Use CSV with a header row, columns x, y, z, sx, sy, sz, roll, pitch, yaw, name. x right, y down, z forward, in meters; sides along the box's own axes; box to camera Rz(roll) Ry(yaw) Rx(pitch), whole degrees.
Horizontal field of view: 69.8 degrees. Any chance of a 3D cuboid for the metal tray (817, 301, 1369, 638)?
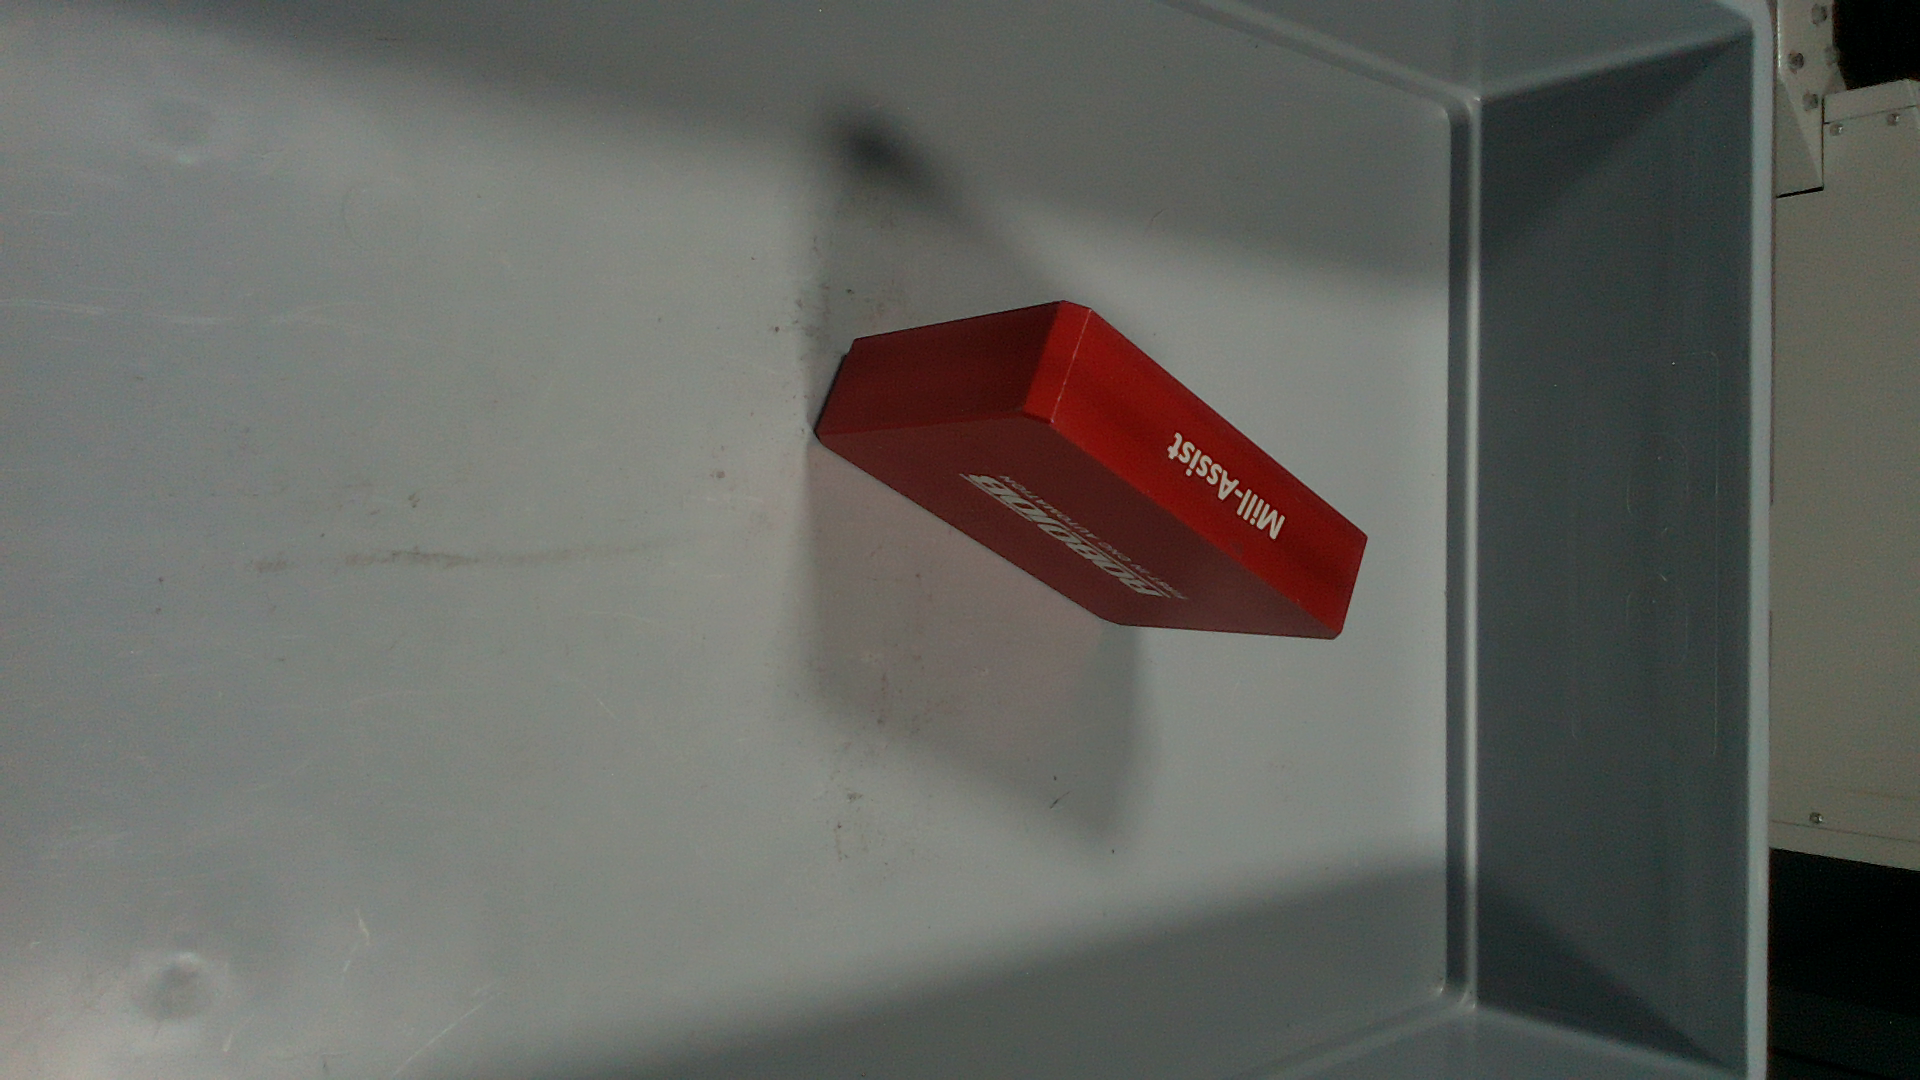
x,y,z,sx,sy,sz,roll,pitch,yaw,name
0.038,-0.014,0.374,0.130,0.090,0.030,31,71,-36,metal tray
